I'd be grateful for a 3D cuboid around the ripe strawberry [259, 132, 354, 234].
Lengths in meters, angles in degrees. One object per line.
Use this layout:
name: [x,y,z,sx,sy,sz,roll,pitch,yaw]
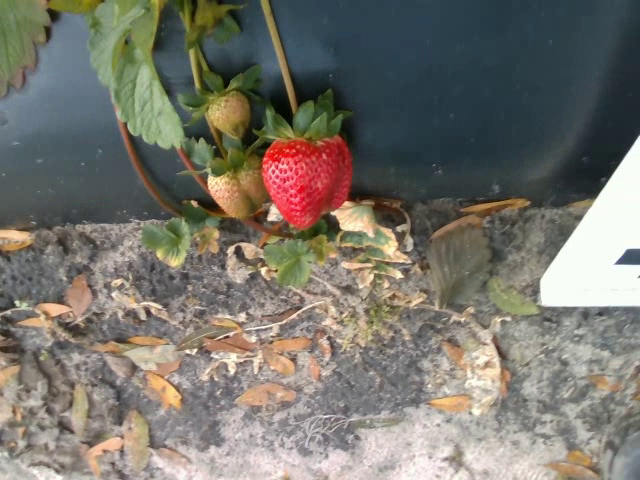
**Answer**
ripe strawberry: [-0.009,-0.030,0.355,0.066,0.053,0.075,-9,-28,20]
